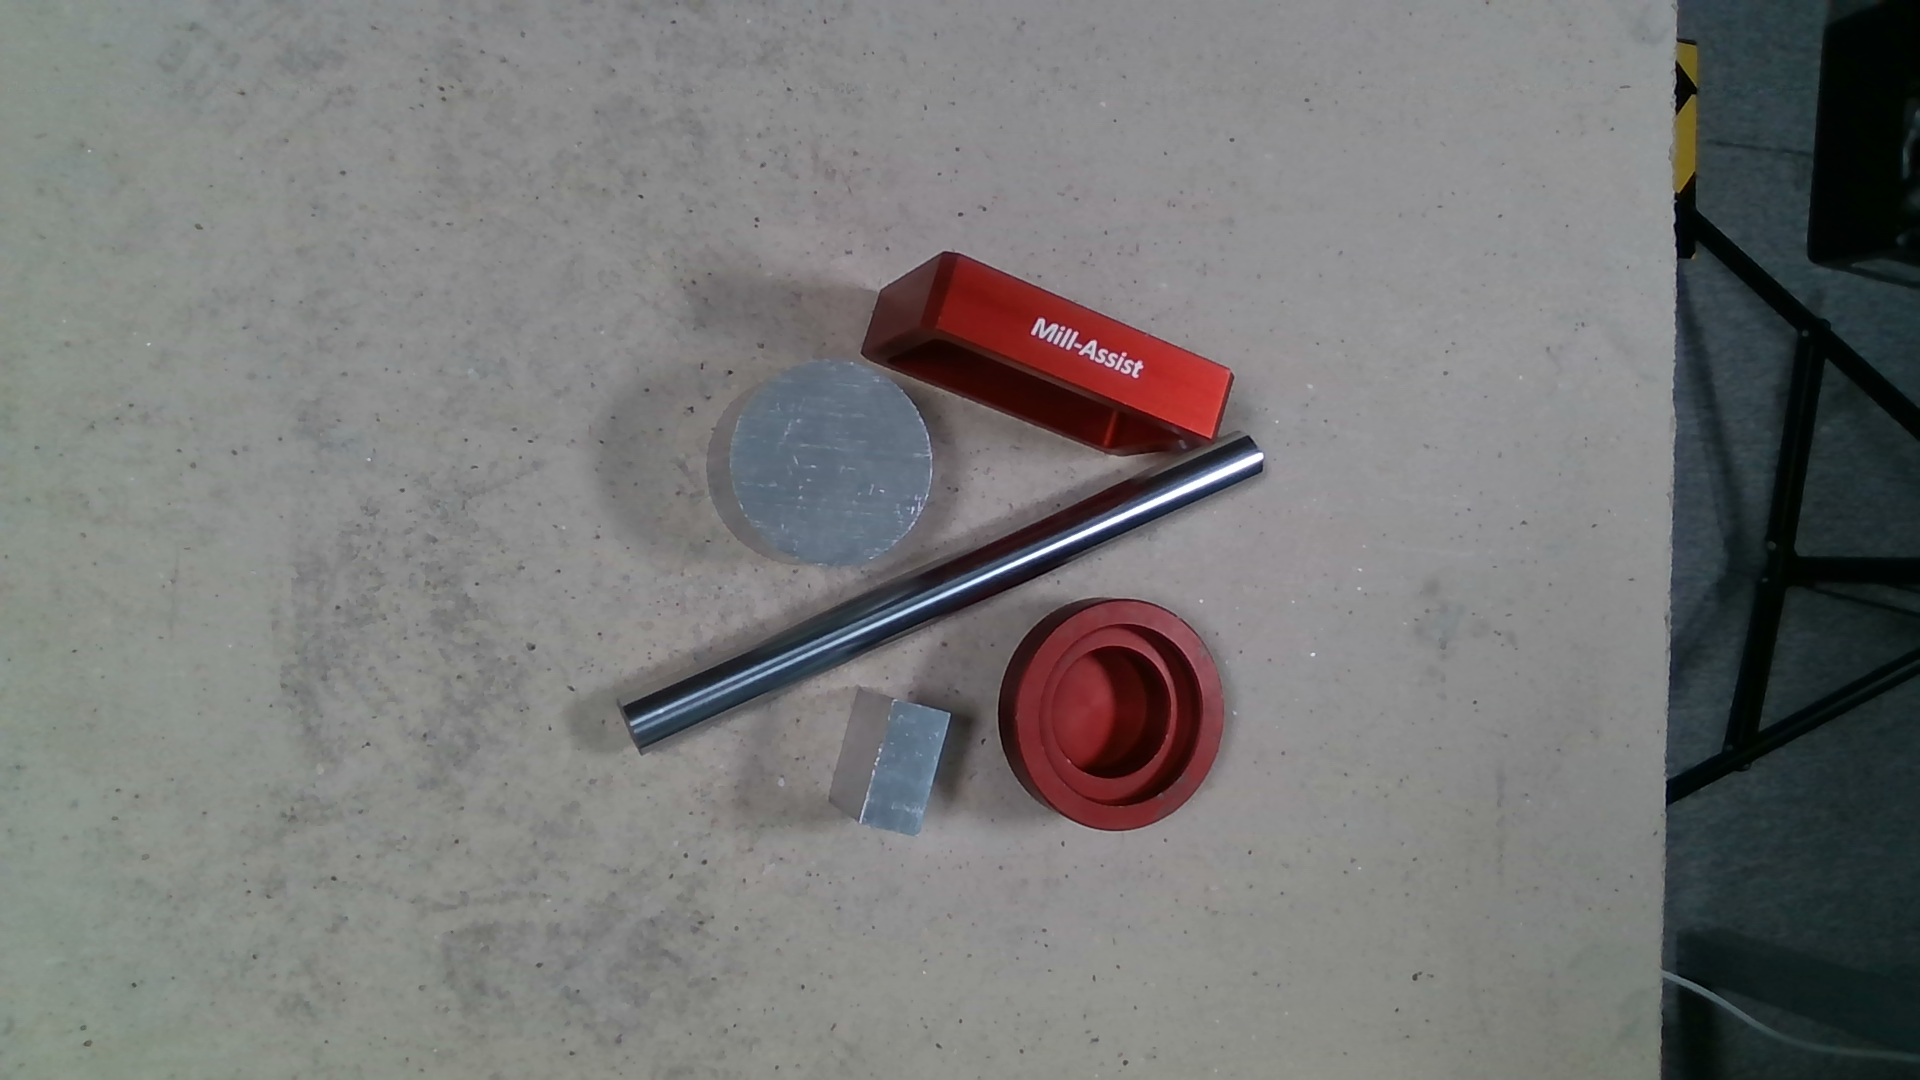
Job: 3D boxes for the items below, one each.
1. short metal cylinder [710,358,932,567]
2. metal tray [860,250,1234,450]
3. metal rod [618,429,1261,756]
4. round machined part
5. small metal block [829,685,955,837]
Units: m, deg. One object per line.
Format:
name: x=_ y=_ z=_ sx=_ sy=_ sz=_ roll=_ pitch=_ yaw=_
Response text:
short metal cylinder: x=-0.057 y=-0.030 z=0.551 sx=0.080 sy=0.050 sz=0.080 roll=0 pitch=90 yaw=-20
metal tray: x=0.034 y=-0.072 z=0.564 sx=0.130 sy=0.090 sz=0.030 roll=19 pitch=83 yaw=-19
metal rod: x=0.001 y=0.017 z=0.587 sx=0.300 sy=0.025 sz=0.025 roll=-23 pitch=98 yaw=-19
round machined part: x=0.062 y=0.074 z=0.600 sx=0.098 sy=0.042 sz=0.098 roll=0 pitch=90 yaw=-20
small metal block: x=-0.028 y=0.089 z=0.560 sx=0.025 sy=0.050 sz=0.050 roll=18 pitch=84 yaw=-19
